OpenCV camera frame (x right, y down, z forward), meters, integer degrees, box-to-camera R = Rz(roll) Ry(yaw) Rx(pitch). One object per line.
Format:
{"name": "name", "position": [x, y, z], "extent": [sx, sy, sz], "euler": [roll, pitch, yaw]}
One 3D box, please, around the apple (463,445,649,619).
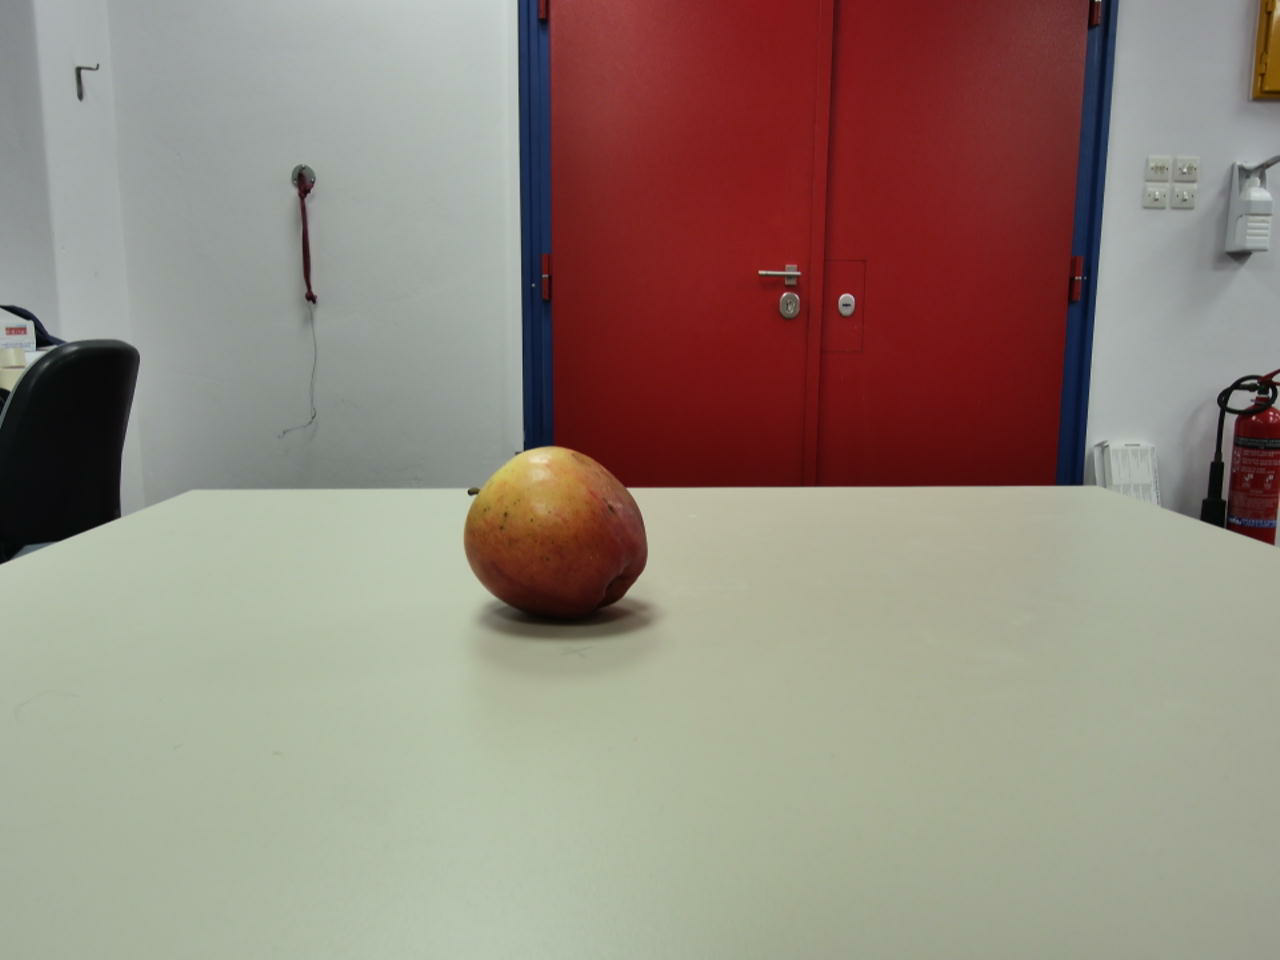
{"name": "apple", "position": [-0.045, 0.026, 0.507], "extent": [0.086, 0.084, 0.093], "euler": [-4, 8, -36]}
